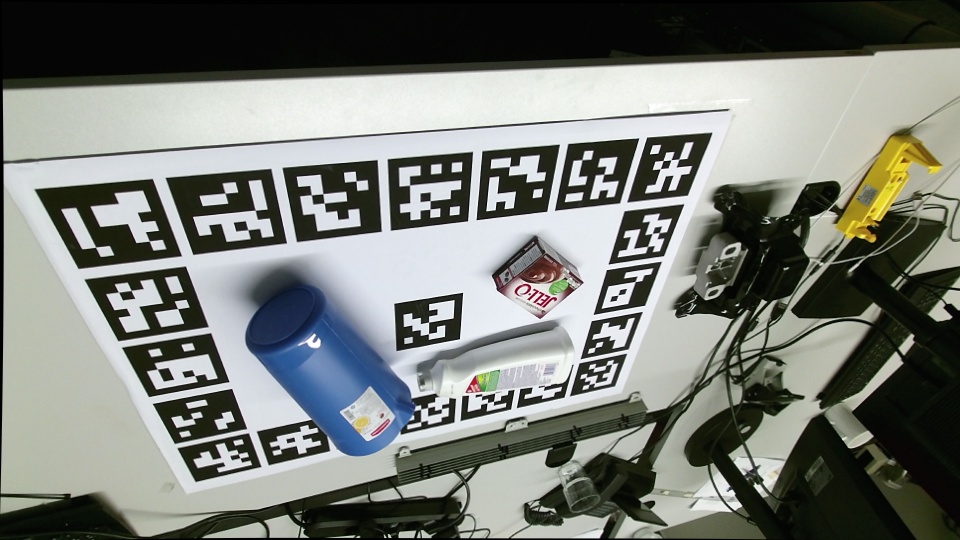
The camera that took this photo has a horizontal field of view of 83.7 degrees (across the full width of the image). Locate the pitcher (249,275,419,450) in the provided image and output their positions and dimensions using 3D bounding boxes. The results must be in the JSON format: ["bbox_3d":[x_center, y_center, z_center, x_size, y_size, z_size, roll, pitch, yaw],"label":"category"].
[{"bbox_3d":[-0.205,0.125,0.724,0.189,0.133,0.243,-4,133,26],"label":"pitcher"}]

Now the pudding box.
[{"bbox_3d":[0.098,0.014,0.788,0.090,0.038,0.114,-38,130,18],"label":"pudding box"}]

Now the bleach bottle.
[{"bbox_3d":[0.032,0.163,0.874,0.252,0.067,0.102,-10,126,-13],"label":"bleach bottle"}]
